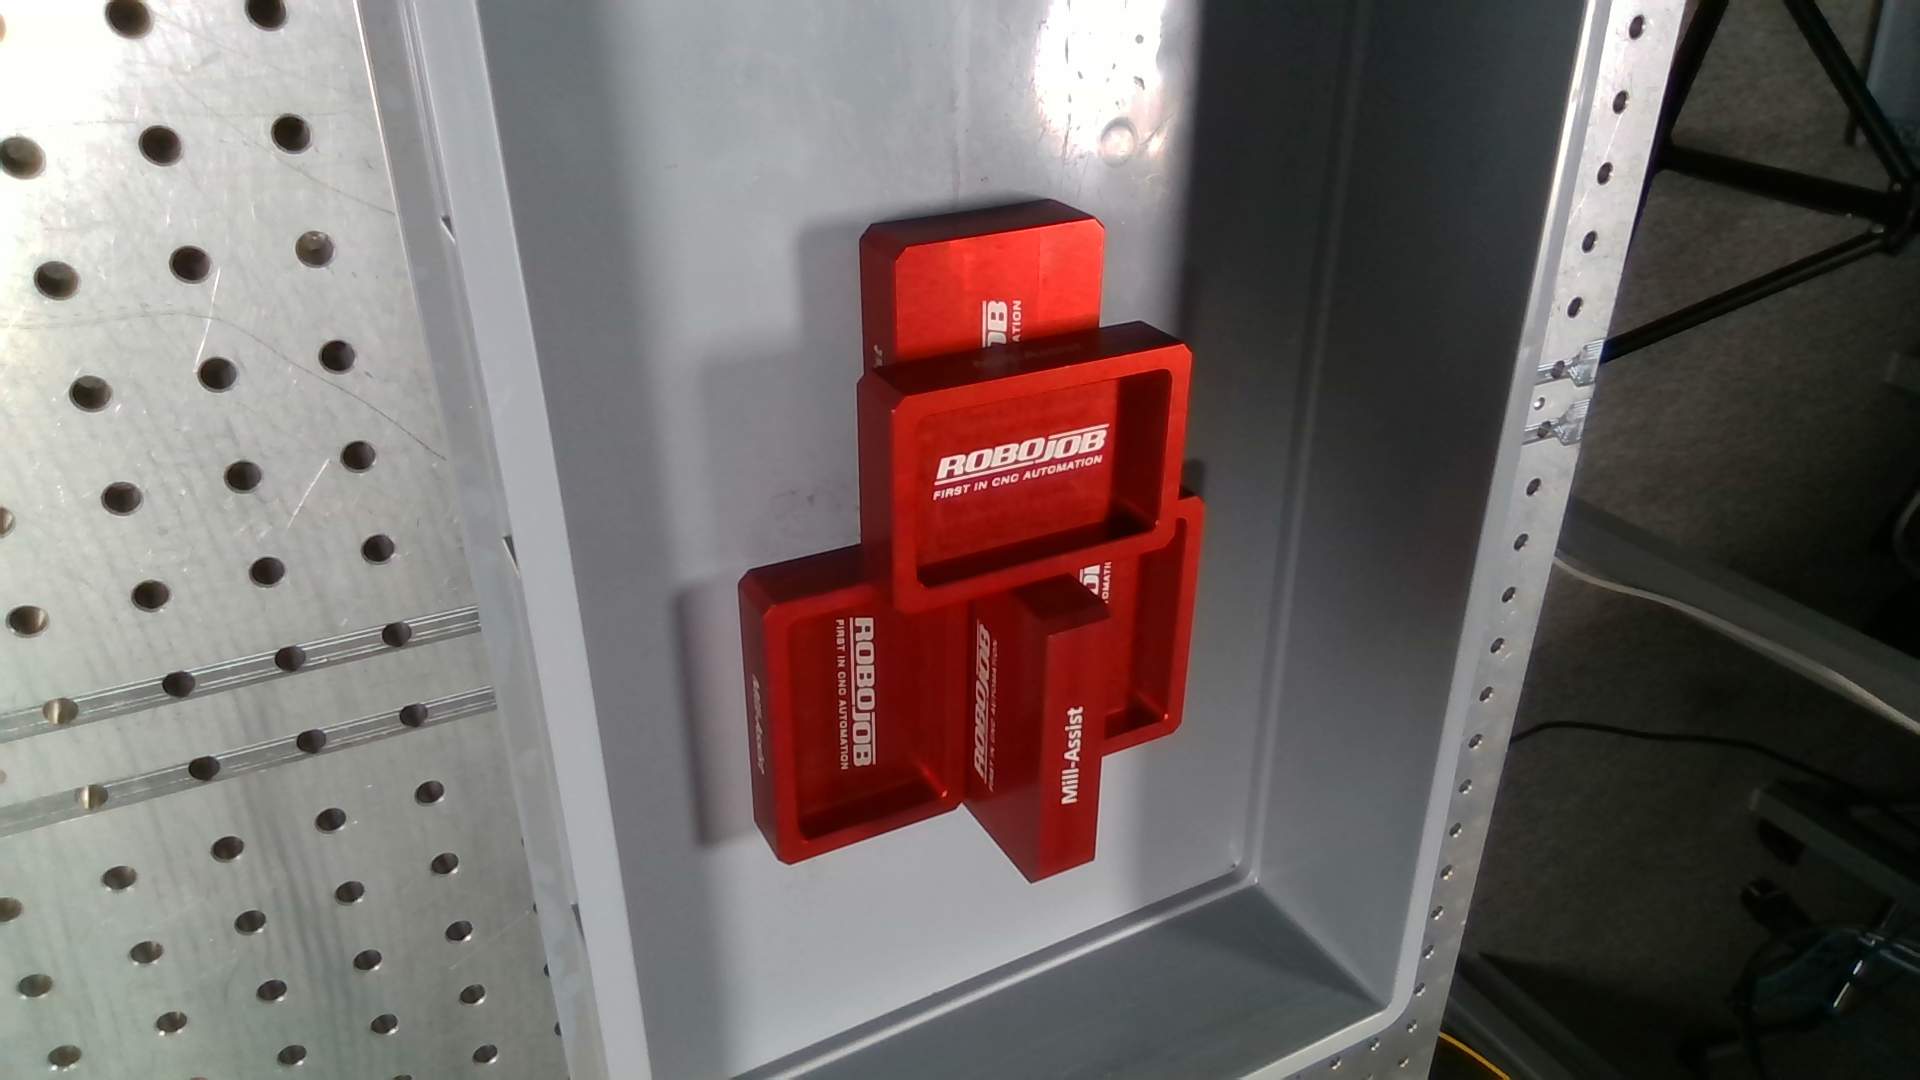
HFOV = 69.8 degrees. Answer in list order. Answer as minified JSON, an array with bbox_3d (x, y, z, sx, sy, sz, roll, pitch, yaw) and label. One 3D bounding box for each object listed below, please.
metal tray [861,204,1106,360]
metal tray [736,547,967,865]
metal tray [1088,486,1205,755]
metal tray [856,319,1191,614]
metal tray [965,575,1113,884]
[{"bbox_3d":[0.009,-0.062,0.546,0.090,0.030,0.130,-14,121,-25],"label":"metal tray"},{"bbox_3d":[-0.044,0.067,0.585,0.090,0.030,0.130,-14,121,-25],"label":"metal tray"},{"bbox_3d":[0.063,0.039,0.636,0.090,0.030,0.130,-14,121,-25],"label":"metal tray"},{"bbox_3d":[0.025,-0.030,0.535,0.130,0.030,0.090,-13,121,-25],"label":"metal tray"},{"bbox_3d":[0.024,0.068,0.588,0.030,0.090,0.130,-14,121,-25],"label":"metal tray"}]
